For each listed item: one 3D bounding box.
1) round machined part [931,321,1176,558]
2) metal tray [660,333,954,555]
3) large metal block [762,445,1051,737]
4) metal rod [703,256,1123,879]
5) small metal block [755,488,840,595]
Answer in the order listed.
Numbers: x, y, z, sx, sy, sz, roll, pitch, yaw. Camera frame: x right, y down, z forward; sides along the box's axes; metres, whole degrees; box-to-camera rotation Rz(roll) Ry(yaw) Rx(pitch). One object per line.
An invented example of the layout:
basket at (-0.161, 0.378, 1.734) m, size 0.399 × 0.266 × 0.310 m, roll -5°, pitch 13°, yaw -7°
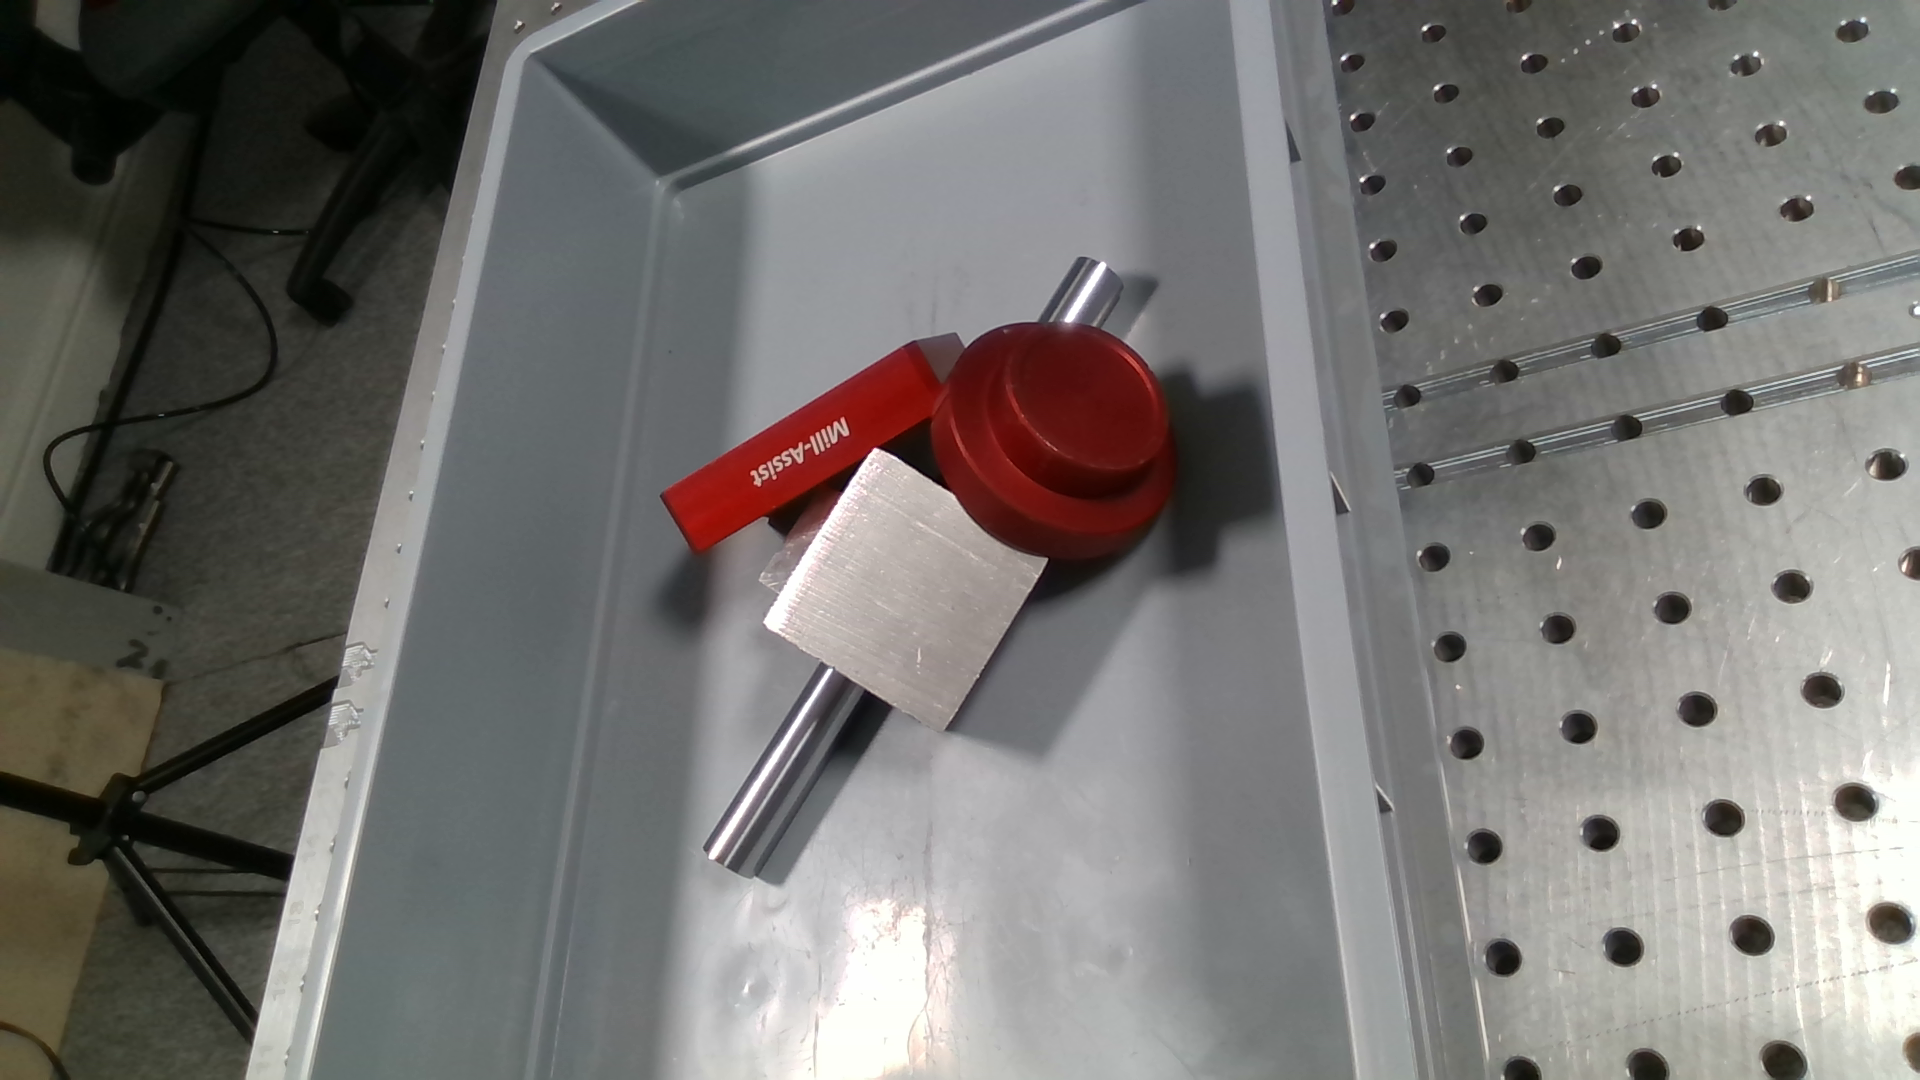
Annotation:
round machined part at (0.041, -0.045, 0.534) m, size 0.042 × 0.098 × 0.098 m, roll 128°, pitch 146°, yaw -54°
metal tray at (-0.058, -0.044, 0.603) m, size 0.130 × 0.090 × 0.030 m, roll -29°, pitch 94°, yaw 16°
large metal block at (-0.022, 0.021, 0.545) m, size 0.080 × 0.050 × 0.080 m, roll 33°, pitch 83°, yaw -4°
metal rod at (-0.018, 0.008, 0.591) m, size 0.025 × 0.025 × 0.300 m, roll 26°, pitch 81°, yaw 38°
small metal block at (-0.052, 0.012, 0.593) m, size 0.025 × 0.050 × 0.050 m, roll 28°, pitch 82°, yaw 38°
